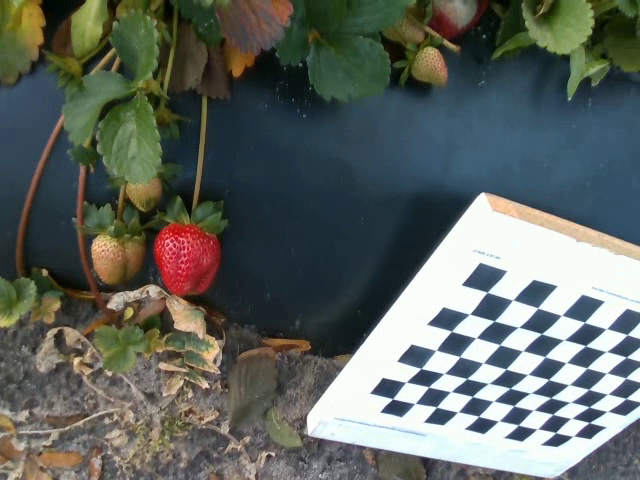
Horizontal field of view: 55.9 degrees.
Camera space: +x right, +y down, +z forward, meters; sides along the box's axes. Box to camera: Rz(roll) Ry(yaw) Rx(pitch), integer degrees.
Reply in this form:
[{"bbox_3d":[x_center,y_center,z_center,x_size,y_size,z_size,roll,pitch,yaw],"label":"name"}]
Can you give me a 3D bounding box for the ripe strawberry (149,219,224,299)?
[{"bbox_3d":[-0.100,0.019,0.433,0.066,0.075,0.053,1,41,-8],"label":"ripe strawberry"}]
